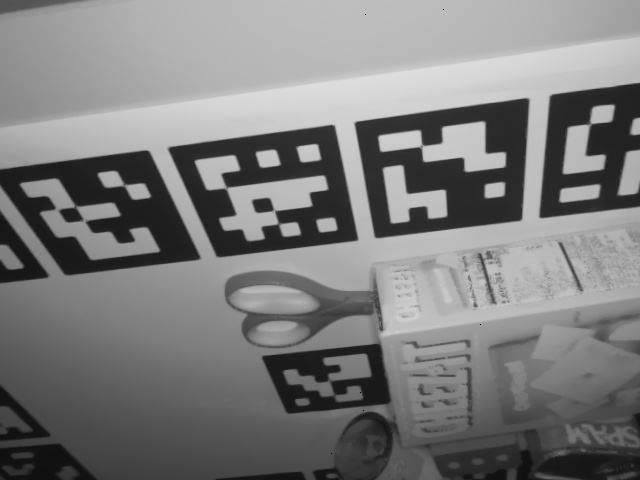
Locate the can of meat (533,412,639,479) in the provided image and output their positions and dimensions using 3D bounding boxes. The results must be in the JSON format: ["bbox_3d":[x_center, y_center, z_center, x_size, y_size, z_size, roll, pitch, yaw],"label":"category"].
[{"bbox_3d":[0.238,0.166,0.610,0.102,0.084,0.057,5,130,-4],"label":"can of meat"}]

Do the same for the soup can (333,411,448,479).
[{"bbox_3d":[0.072,0.216,0.675,0.103,0.068,0.067,33,124,-32],"label":"soup can"}]

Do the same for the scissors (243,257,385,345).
[{"bbox_3d":[0.047,0.037,0.527,0.202,0.016,0.087,-10,130,7],"label":"scissors"}]

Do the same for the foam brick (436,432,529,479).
[{"bbox_3d":[0.149,0.187,0.652,0.077,0.052,0.052,-14,129,12],"label":"foam brick"}]

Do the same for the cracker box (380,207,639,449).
[{"bbox_3d":[0.166,0.072,0.518,0.213,0.072,0.163,-12,131,5],"label":"cracker box"}]
